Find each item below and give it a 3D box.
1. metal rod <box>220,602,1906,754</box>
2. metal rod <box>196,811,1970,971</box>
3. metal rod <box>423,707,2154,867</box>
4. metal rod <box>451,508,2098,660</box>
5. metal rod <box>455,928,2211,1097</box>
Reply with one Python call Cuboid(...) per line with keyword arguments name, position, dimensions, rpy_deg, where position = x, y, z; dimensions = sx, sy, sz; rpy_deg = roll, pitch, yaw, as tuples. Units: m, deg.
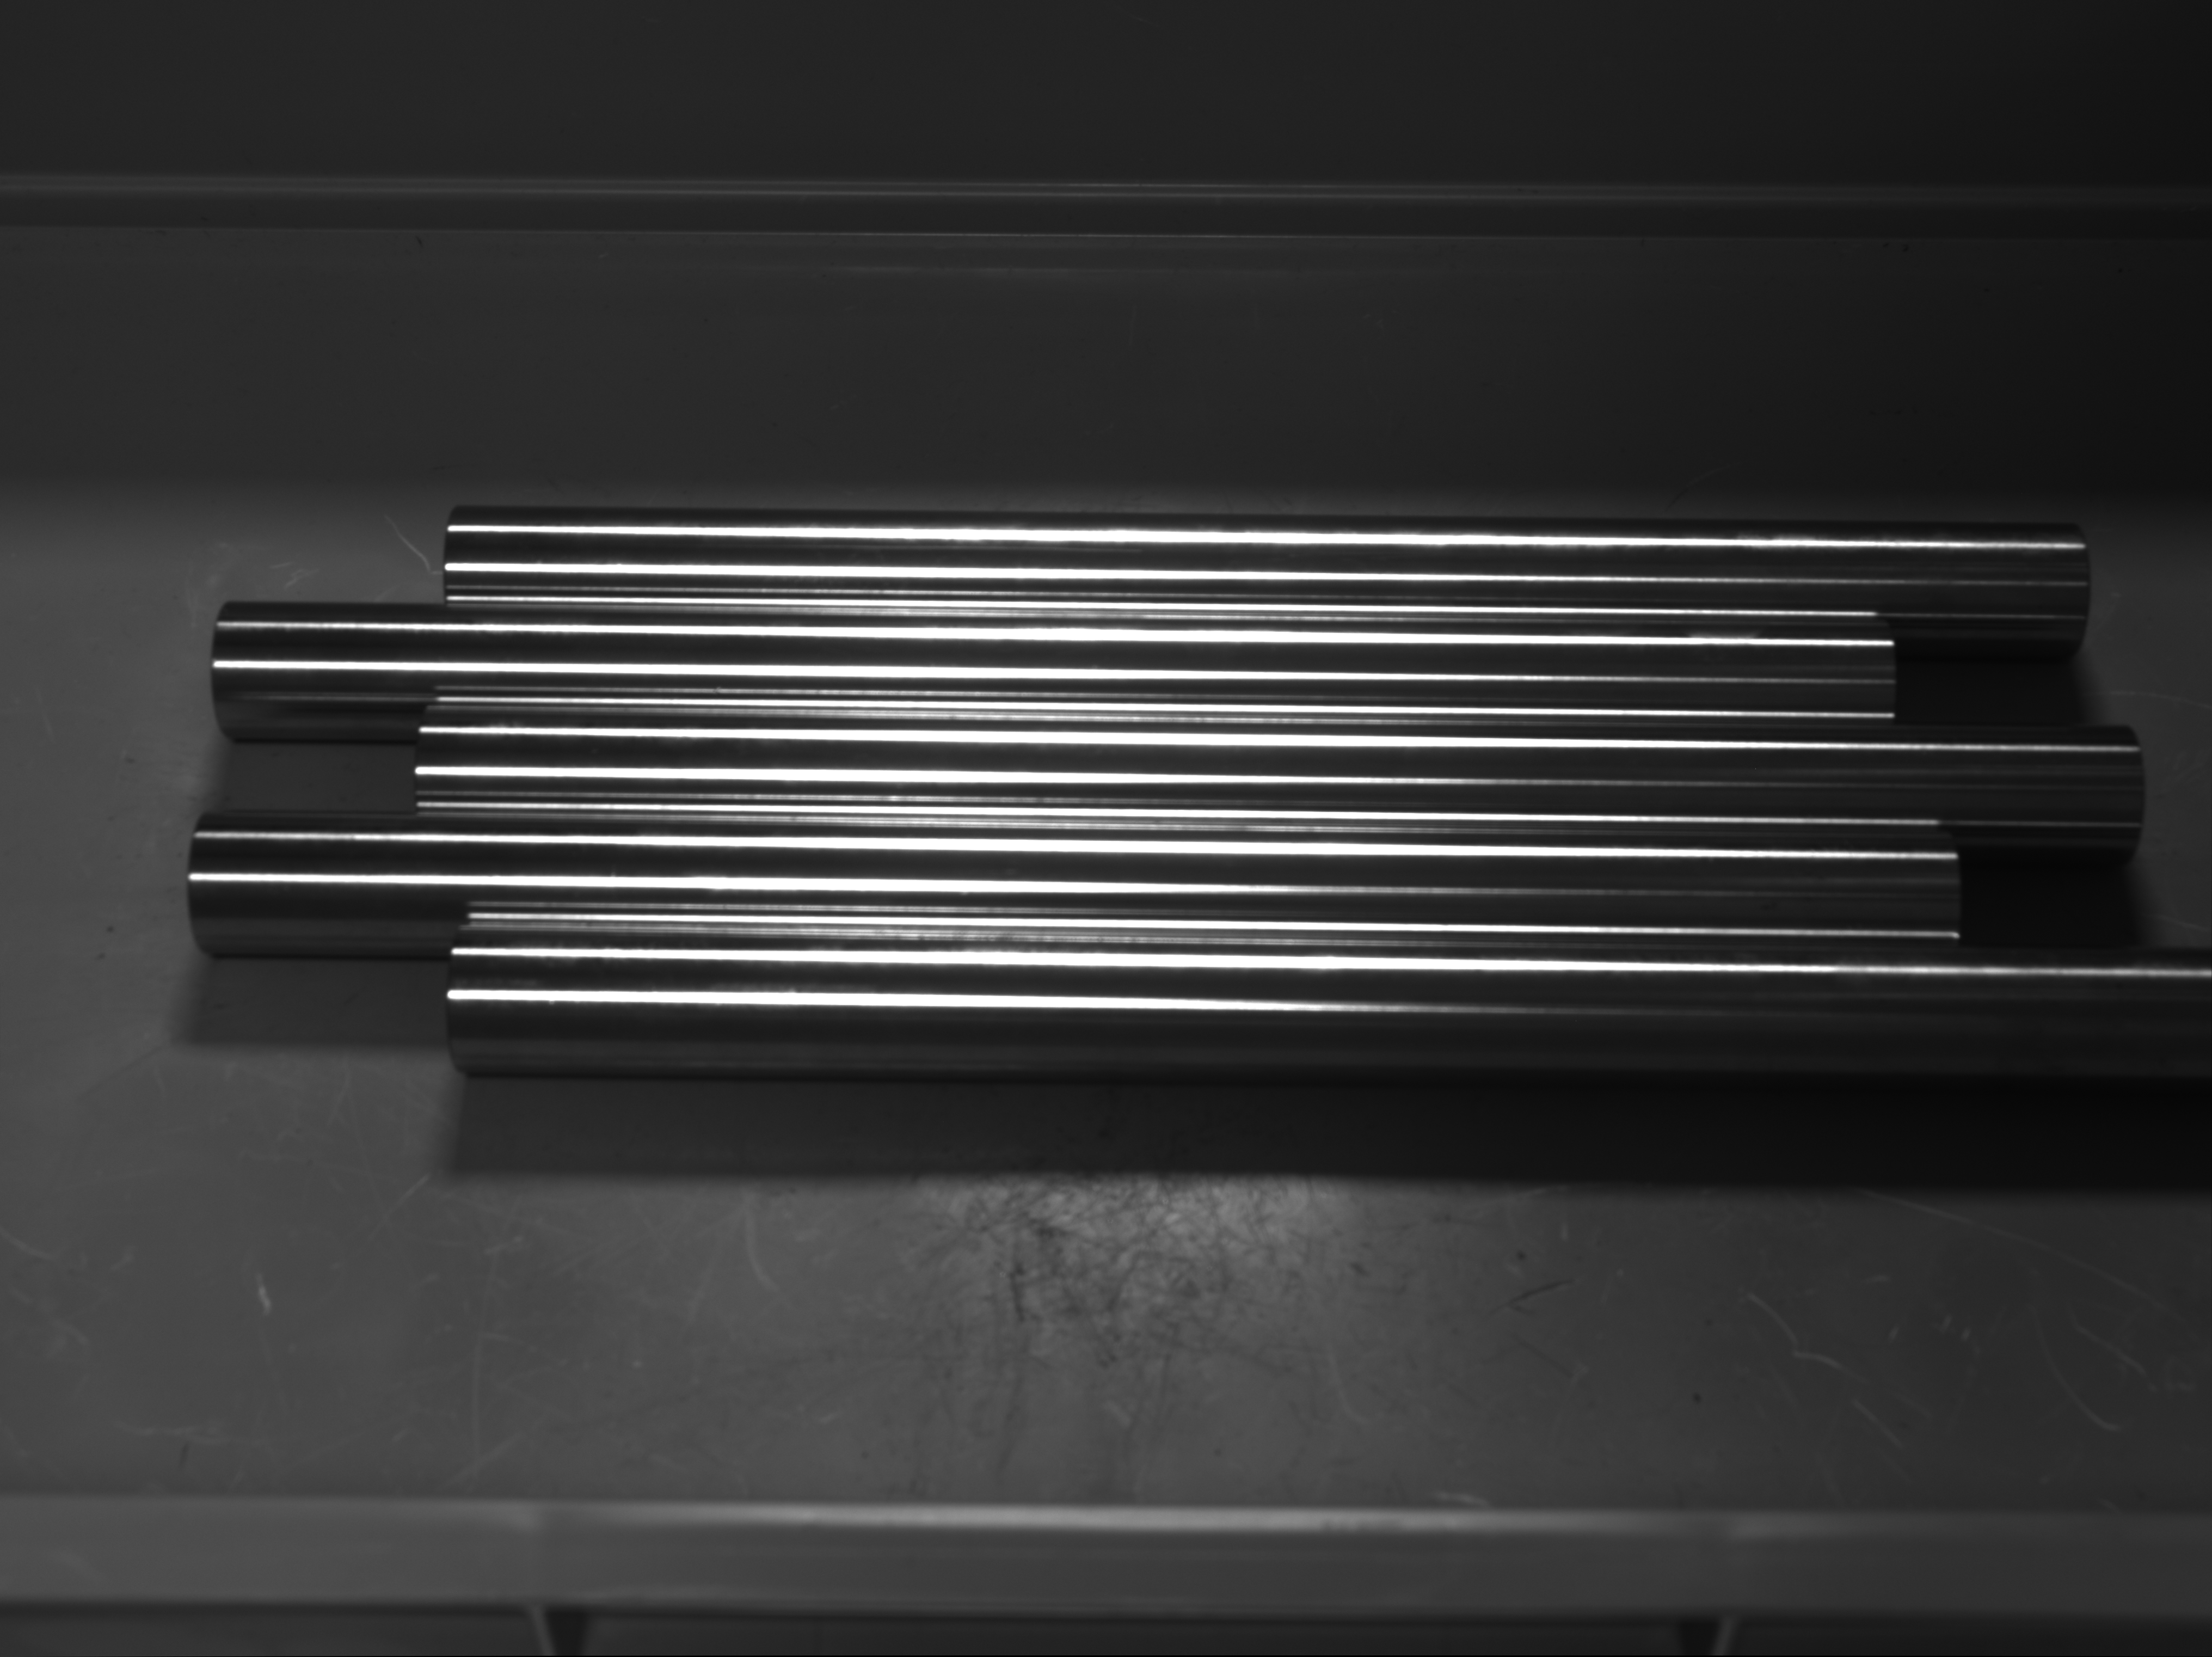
Cuboid(name="metal rod", position=(-0.008, -0.027, 0.664), dimensions=(0.300, 0.025, 0.025), rpy_deg=(1, 50, 0))
Cuboid(name="metal rod", position=(-0.004, 0.011, 0.632), dimensions=(0.300, 0.025, 0.025), rpy_deg=(1, 50, 0))
Cuboid(name="metal rod", position=(0.031, -0.007, 0.647), dimensions=(0.300, 0.025, 0.025), rpy_deg=(1, 50, 0))
Cuboid(name="metal rod", position=(0.031, -0.045, 0.679), dimensions=(0.300, 0.025, 0.025), rpy_deg=(1, 50, 0))
Cuboid(name="metal rod", position=(0.043, 0.031, 0.615), dimensions=(0.300, 0.025, 0.025), rpy_deg=(1, 50, 0))
